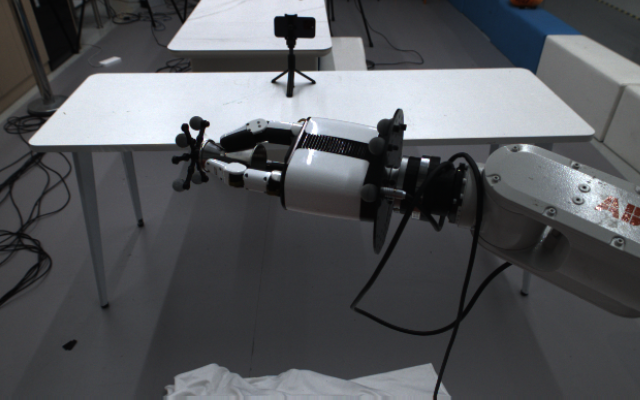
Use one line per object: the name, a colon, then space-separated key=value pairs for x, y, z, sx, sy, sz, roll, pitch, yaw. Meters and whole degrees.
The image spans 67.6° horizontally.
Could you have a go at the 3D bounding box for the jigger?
jigger: x=-0.096 y=-0.050 z=0.571 sx=0.071 sy=0.043 sz=0.043 roll=8 pitch=35 yaw=17
